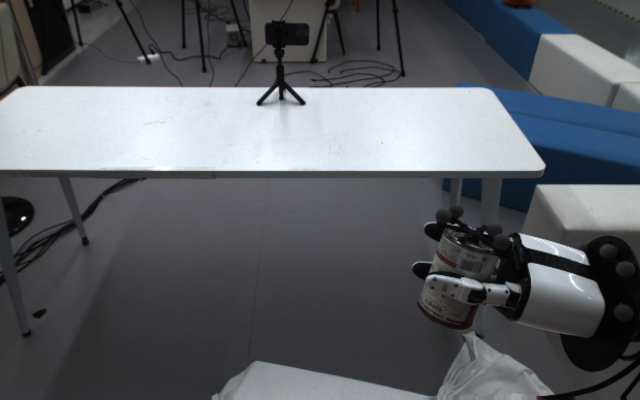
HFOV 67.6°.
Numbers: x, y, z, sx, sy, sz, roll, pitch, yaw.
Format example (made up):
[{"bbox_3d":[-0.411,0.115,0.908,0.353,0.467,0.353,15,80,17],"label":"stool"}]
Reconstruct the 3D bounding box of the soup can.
[{"bbox_3d":[0.165,0.089,0.569,0.067,0.101,0.067,13,18,-4],"label":"soup can"}]
